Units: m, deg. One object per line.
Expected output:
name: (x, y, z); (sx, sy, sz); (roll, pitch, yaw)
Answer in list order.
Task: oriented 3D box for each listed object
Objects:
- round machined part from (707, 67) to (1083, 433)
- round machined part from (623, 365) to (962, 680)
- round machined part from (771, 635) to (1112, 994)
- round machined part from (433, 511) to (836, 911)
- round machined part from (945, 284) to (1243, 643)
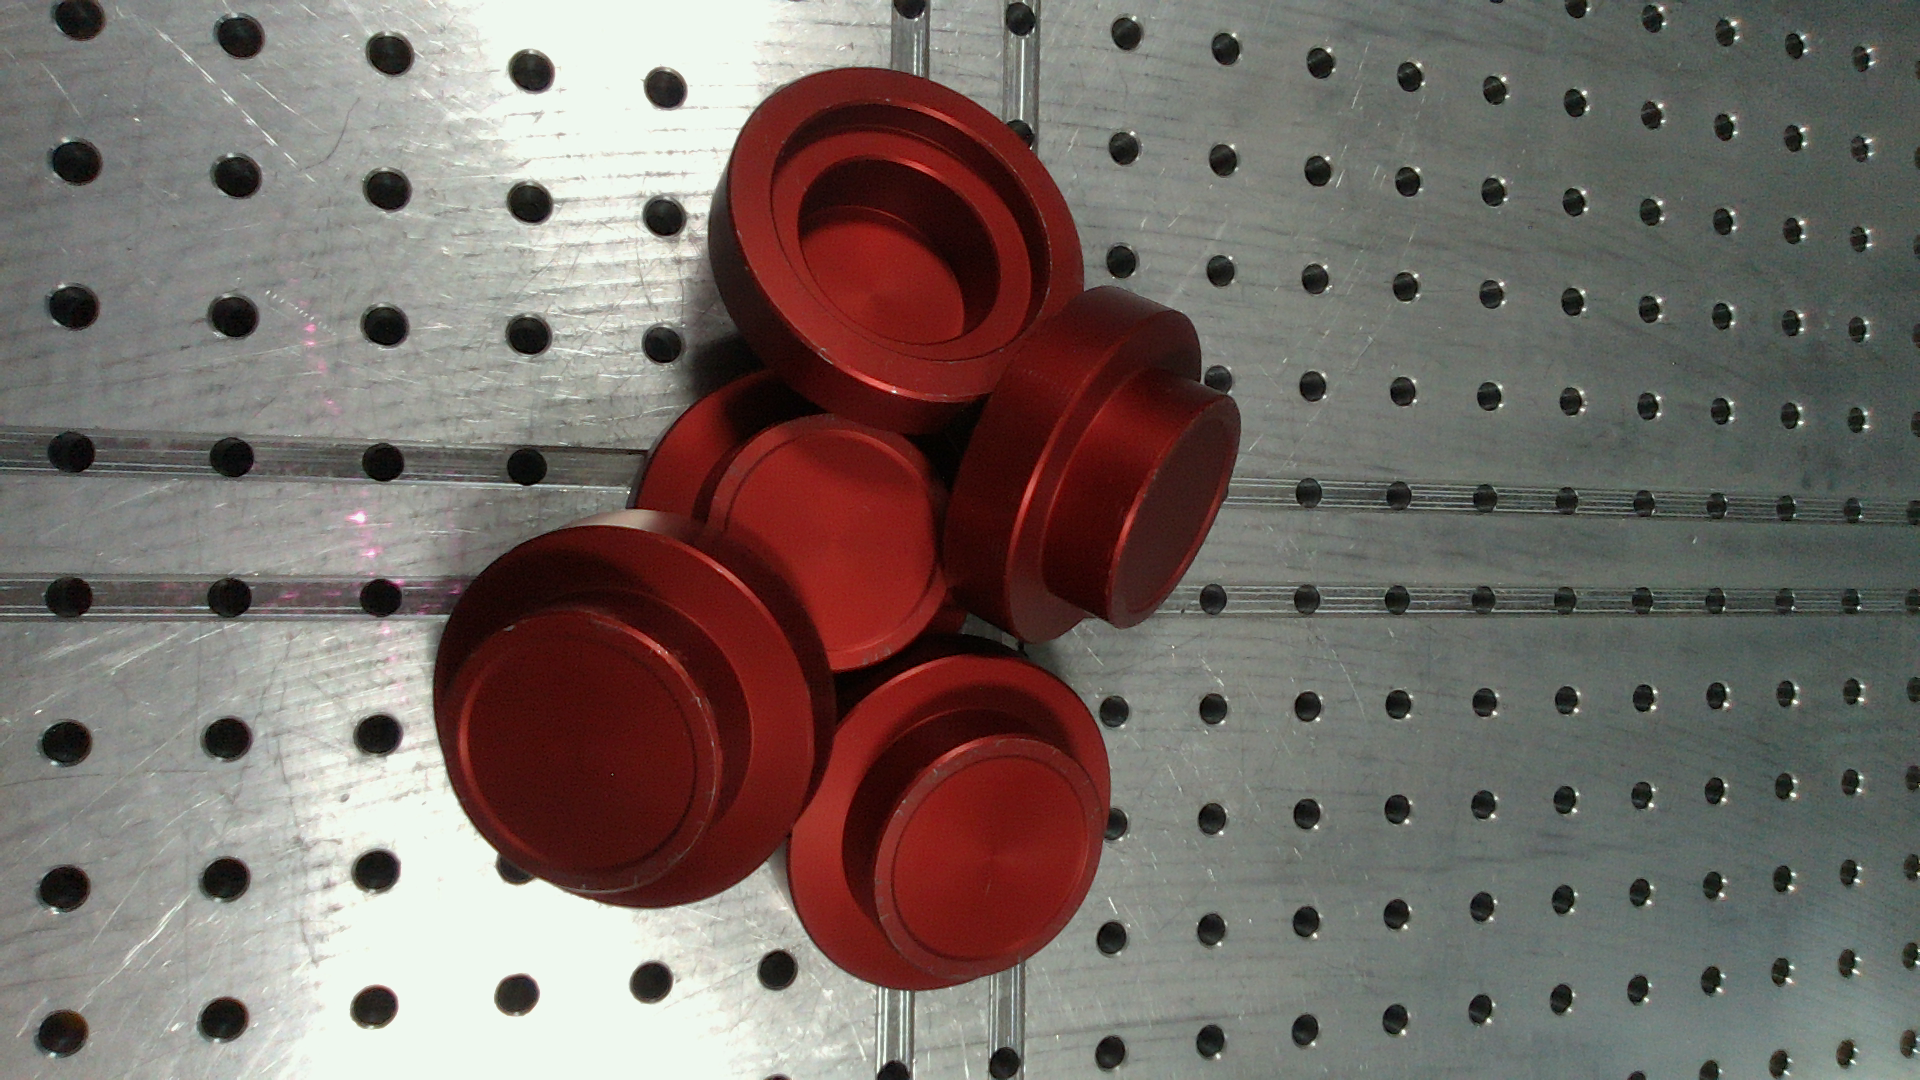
round machined part: (-0.020, -0.073, 0.368); (0.098, 0.042, 0.098); (10, 65, -21)
round machined part: (-0.040, 0.000, 0.371); (0.098, 0.042, 0.098); (0, 90, -20)
round machined part: (0.000, 0.078, 0.374); (0.098, 0.042, 0.098); (-6, 104, -25)
round machined part: (-0.083, 0.045, 0.332); (0.098, 0.042, 0.098); (2, 103, 10)
round machined part: (0.041, -0.015, 0.371); (0.042, 0.098, 0.098); (27, 78, 24)
